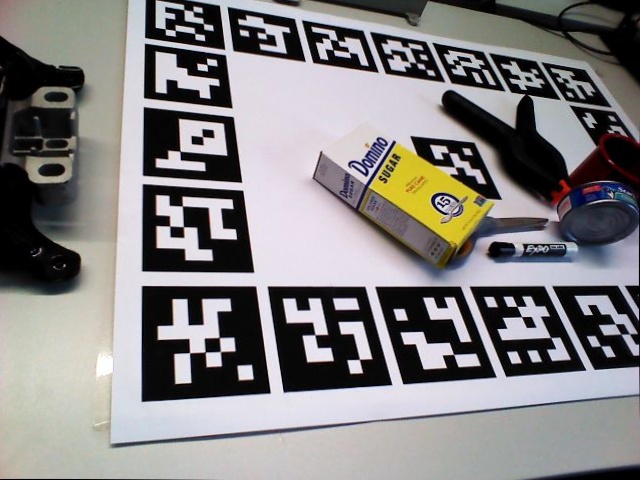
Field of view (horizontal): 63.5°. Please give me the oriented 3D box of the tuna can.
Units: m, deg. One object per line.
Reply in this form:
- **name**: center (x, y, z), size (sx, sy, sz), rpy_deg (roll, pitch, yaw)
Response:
- **tuna can**: center (0.341, -0.025, 0.627), size (0.086, 0.086, 0.033), rpy_deg (16, 52, -9)

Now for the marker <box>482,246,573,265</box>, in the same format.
- **marker**: center (0.241, 0.018, 0.602), size (0.121, 0.020, 0.019), rpy_deg (-1, 58, -21)

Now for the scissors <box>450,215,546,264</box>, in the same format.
- **scissors**: center (0.192, -0.019, 0.607), size (0.202, 0.016, 0.087), rpy_deg (-7, 55, -26)

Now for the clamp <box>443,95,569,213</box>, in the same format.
- **clamp**: center (0.279, -0.126, 0.721), size (0.165, 0.037, 0.202), rpy_deg (-7, 60, -25)

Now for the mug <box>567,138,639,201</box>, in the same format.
- **mug**: center (0.388, -0.064, 0.679), size (0.093, 0.082, 0.117), rpy_deg (-25, 64, -33)

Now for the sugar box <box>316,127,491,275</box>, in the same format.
- **sugar box**: center (0.092, -0.050, 0.571), size (0.176, 0.045, 0.092), rpy_deg (41, 52, 18)
